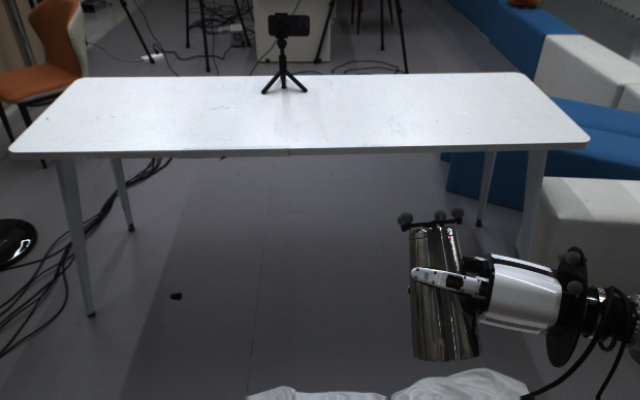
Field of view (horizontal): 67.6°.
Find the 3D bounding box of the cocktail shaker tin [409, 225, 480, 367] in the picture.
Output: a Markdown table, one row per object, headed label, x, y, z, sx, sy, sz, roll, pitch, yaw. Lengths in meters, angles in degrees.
| label | x | y | z | sx | sy | sz | roll | pitch | yaw |
| --- | --- | --- | --- | --- | --- | --- | --- | --- | --- |
| cocktail shaker tin | 0.166 | 0.125 | 0.668 | 0.093 | 0.170 | 0.093 | -6 | -7 | -1 |
